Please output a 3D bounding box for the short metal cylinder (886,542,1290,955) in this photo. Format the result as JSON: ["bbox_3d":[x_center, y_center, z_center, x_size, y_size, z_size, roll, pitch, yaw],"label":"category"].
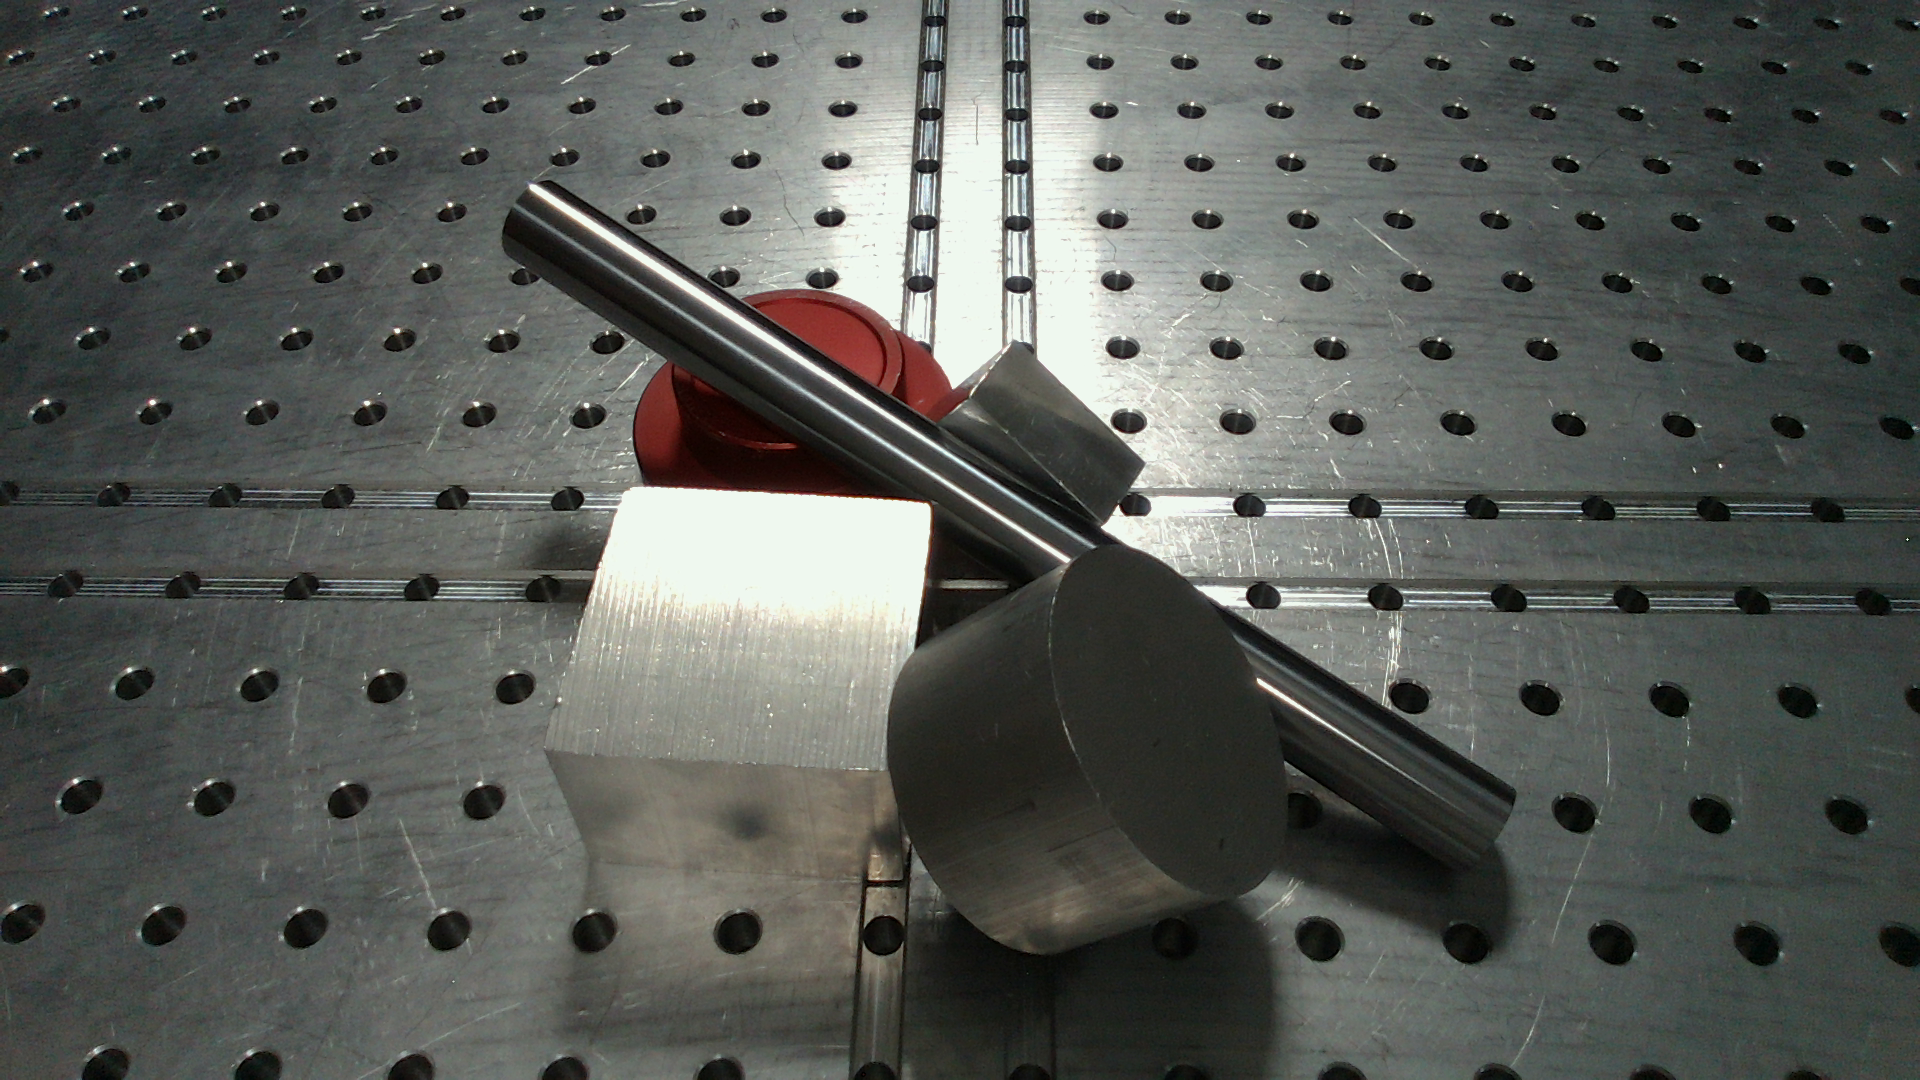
[{"bbox_3d":[0.030,0.047,0.310,0.080,0.050,0.080,30,45,-35],"label":"short metal cylinder"}]

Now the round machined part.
[{"bbox_3d":[-0.050,-0.038,0.416,0.098,0.042,0.098,0,50,0],"label":"round machined part"}]

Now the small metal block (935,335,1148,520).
[{"bbox_3d":[0.015,-0.022,0.384,0.050,0.050,0.025,42,59,-10],"label":"small metal block"}]

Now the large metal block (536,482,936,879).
[{"bbox_3d":[-0.050,0.034,0.346,0.080,0.050,0.080,4,50,3],"label":"large metal block"}]

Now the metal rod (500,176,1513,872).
[{"bbox_3d":[0.004,-0.010,0.361,0.300,0.025,0.025,33,57,10],"label":"metal rod"}]
